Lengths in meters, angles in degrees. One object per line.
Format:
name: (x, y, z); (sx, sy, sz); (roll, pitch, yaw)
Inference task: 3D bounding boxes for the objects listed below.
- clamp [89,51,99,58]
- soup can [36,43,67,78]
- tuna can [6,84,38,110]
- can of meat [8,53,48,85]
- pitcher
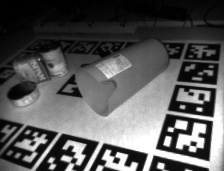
clamp: (-0.032, -0.077, 0.744); (0.163, 0.037, 0.122); (10, 41, 22)
soup can: (-0.204, -0.084, 0.737); (0.067, 0.103, 0.067); (-11, 40, 10)
tuna can: (-0.277, 0.035, 0.668); (0.085, 0.034, 0.085); (-8, 41, 8)
can of meat: (-0.272, -0.047, 0.706); (0.084, 0.103, 0.057); (-21, 41, -2)
pitcher: (0.018, -0.041, 0.588); (0.244, 0.134, 0.186); (-33, 20, -32)
